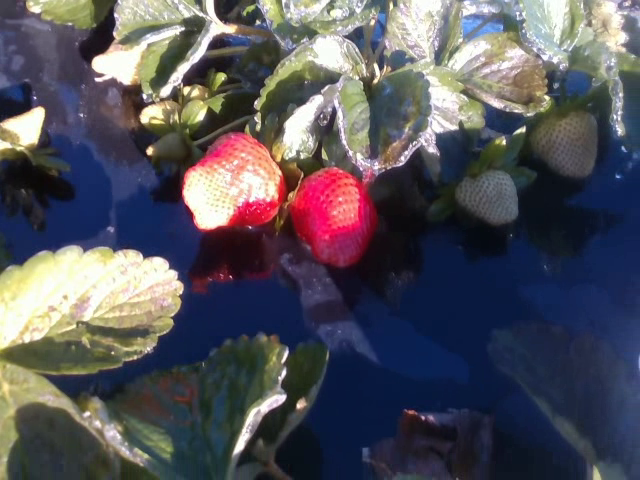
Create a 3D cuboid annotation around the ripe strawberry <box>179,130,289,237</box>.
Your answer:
[{"bbox_3d":[-0.045,-0.026,0.314,0.052,0.070,0.040,40,-29,7],"label":"ripe strawberry"}]

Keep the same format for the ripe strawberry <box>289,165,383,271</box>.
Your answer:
[{"bbox_3d":[0.007,-0.015,0.301,0.043,0.059,0.040,-6,-30,-6],"label":"ripe strawberry"}]
